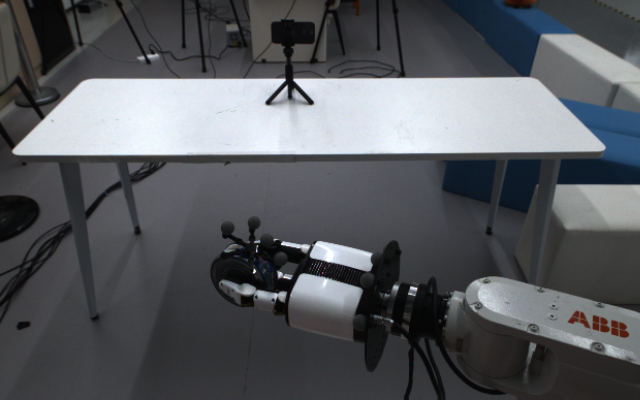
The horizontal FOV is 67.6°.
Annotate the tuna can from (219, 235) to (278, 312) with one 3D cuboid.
[{"bbox_3d":[-0.100,0.100,0.642,0.085,0.085,0.034,15,31,18],"label":"tuna can"}]
